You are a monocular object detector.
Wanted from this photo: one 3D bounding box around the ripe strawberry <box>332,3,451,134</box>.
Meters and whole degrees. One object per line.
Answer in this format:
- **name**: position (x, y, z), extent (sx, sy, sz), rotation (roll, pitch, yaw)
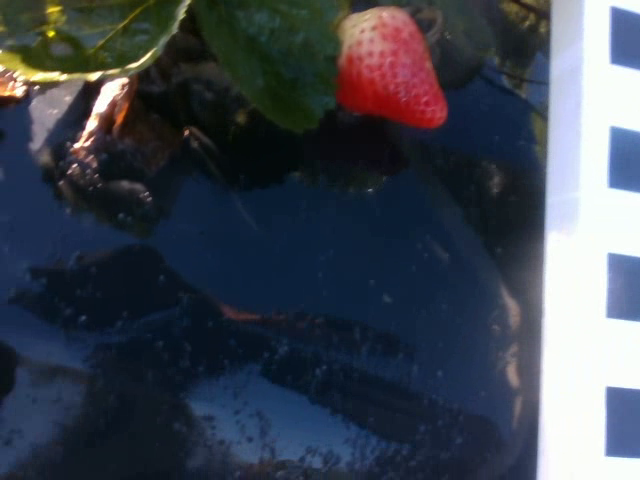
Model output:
- **ripe strawberry**: position (0.031, -0.069, 0.258), extent (0.040, 0.065, 0.040), rotation (-43, 5, -18)
